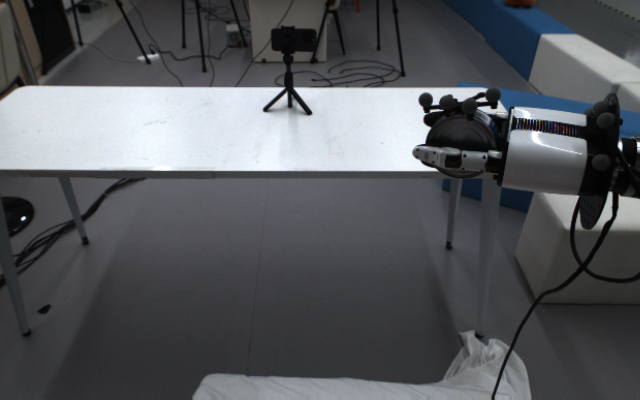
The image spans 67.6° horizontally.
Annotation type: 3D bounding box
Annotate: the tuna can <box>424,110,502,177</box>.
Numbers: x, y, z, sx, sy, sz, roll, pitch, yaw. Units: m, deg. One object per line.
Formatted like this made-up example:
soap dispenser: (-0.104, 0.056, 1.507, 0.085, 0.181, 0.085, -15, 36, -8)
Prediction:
tuna can: (0.180, -0.074, 0.610, 0.085, 0.085, 0.034, 17, 37, 20)
